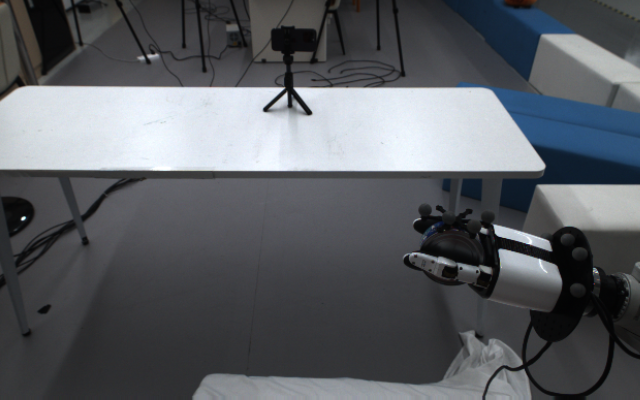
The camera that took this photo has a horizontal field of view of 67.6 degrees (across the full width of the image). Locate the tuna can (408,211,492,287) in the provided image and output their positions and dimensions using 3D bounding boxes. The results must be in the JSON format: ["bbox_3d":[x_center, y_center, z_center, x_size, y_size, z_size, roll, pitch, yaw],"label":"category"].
[{"bbox_3d":[0.179,0.069,0.657,0.085,0.085,0.034,9,24,10],"label":"tuna can"}]
